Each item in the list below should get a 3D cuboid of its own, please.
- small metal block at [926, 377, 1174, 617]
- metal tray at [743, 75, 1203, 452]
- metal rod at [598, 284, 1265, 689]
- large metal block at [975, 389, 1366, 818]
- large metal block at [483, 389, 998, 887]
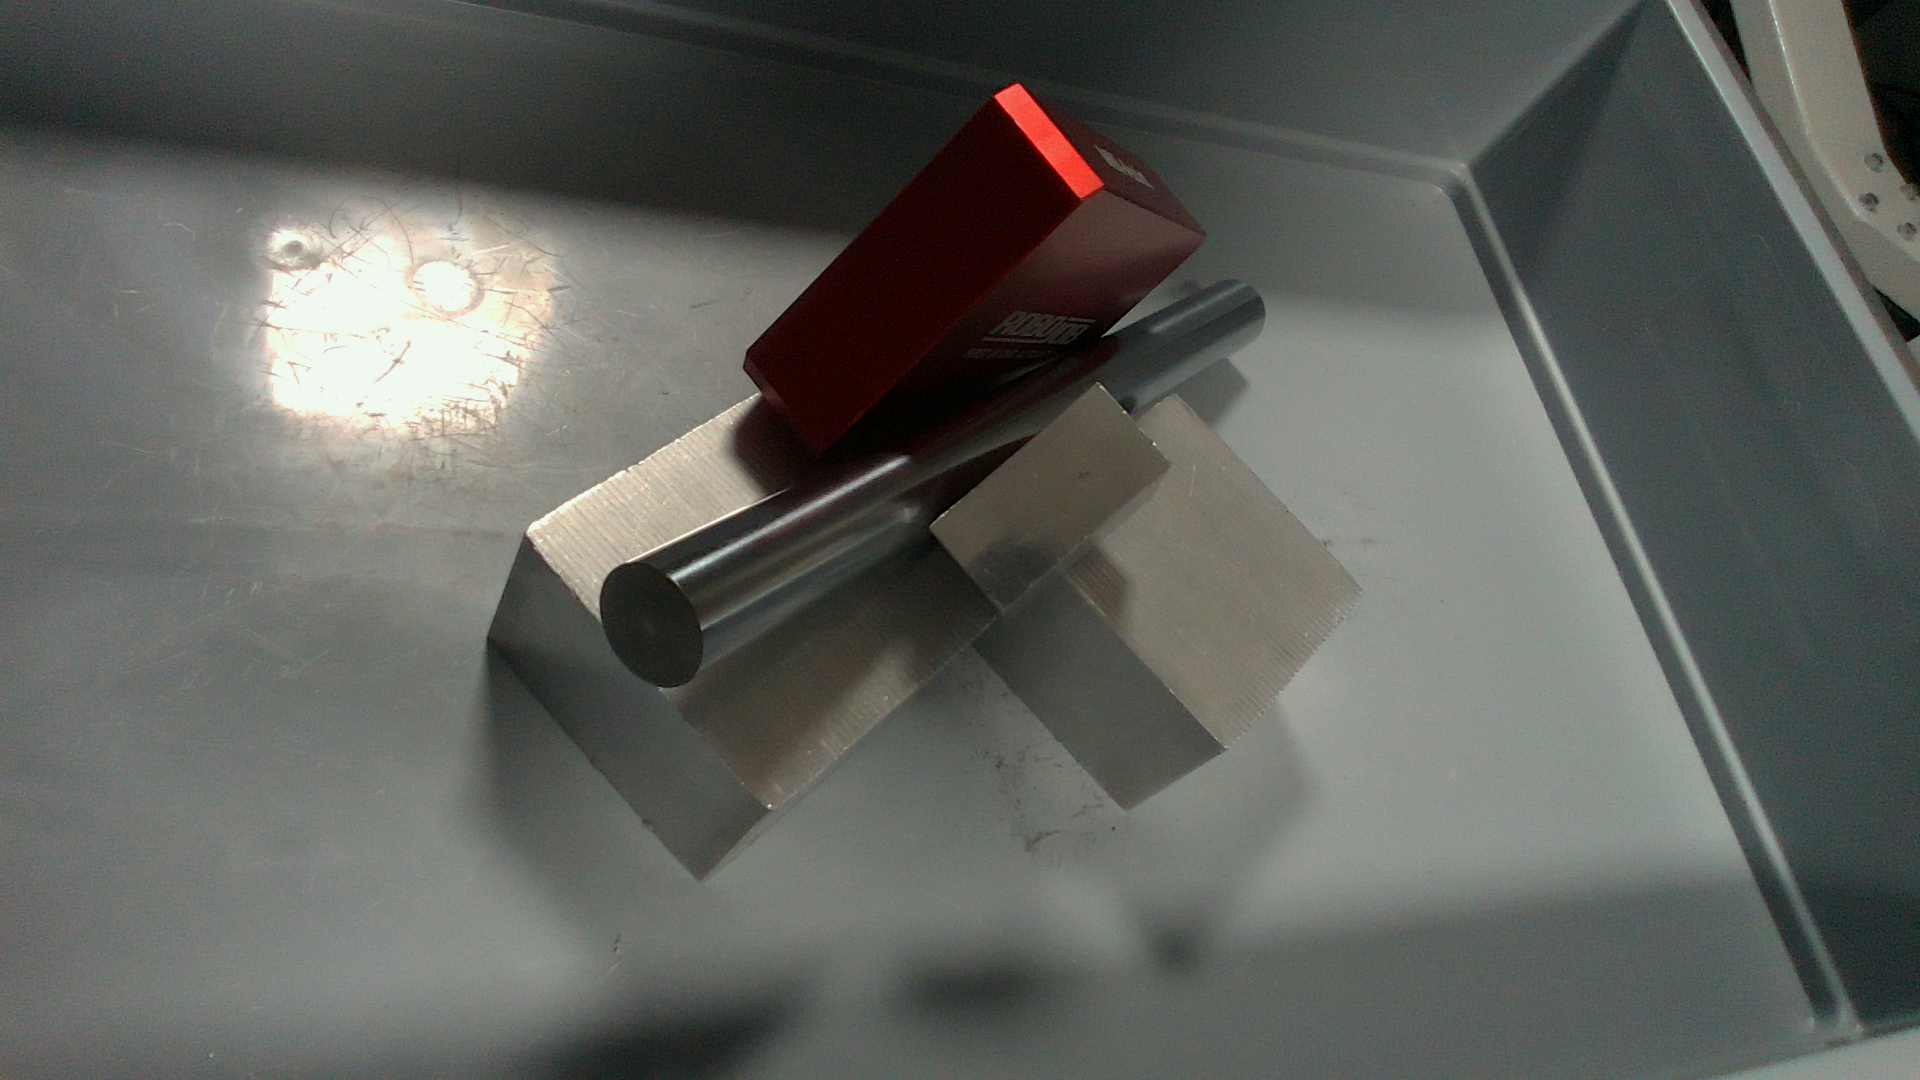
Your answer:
[{"bbox_3d":[0.021,-0.007,0.326,0.050,0.050,0.025,-40,83,-2],"label":"small metal block"},{"bbox_3d":[0.011,-0.066,0.358,0.030,0.090,0.130,52,20,7],"label":"metal tray"},{"bbox_3d":[0.020,-0.032,0.371,0.025,0.025,0.301,49,36,7],"label":"metal rod"},{"bbox_3d":[0.054,0.017,0.392,0.080,0.050,0.080,47,51,5],"label":"large metal block"},{"bbox_3d":[-0.052,0.020,0.330,0.080,0.050,0.080,47,51,5],"label":"large metal block"}]
